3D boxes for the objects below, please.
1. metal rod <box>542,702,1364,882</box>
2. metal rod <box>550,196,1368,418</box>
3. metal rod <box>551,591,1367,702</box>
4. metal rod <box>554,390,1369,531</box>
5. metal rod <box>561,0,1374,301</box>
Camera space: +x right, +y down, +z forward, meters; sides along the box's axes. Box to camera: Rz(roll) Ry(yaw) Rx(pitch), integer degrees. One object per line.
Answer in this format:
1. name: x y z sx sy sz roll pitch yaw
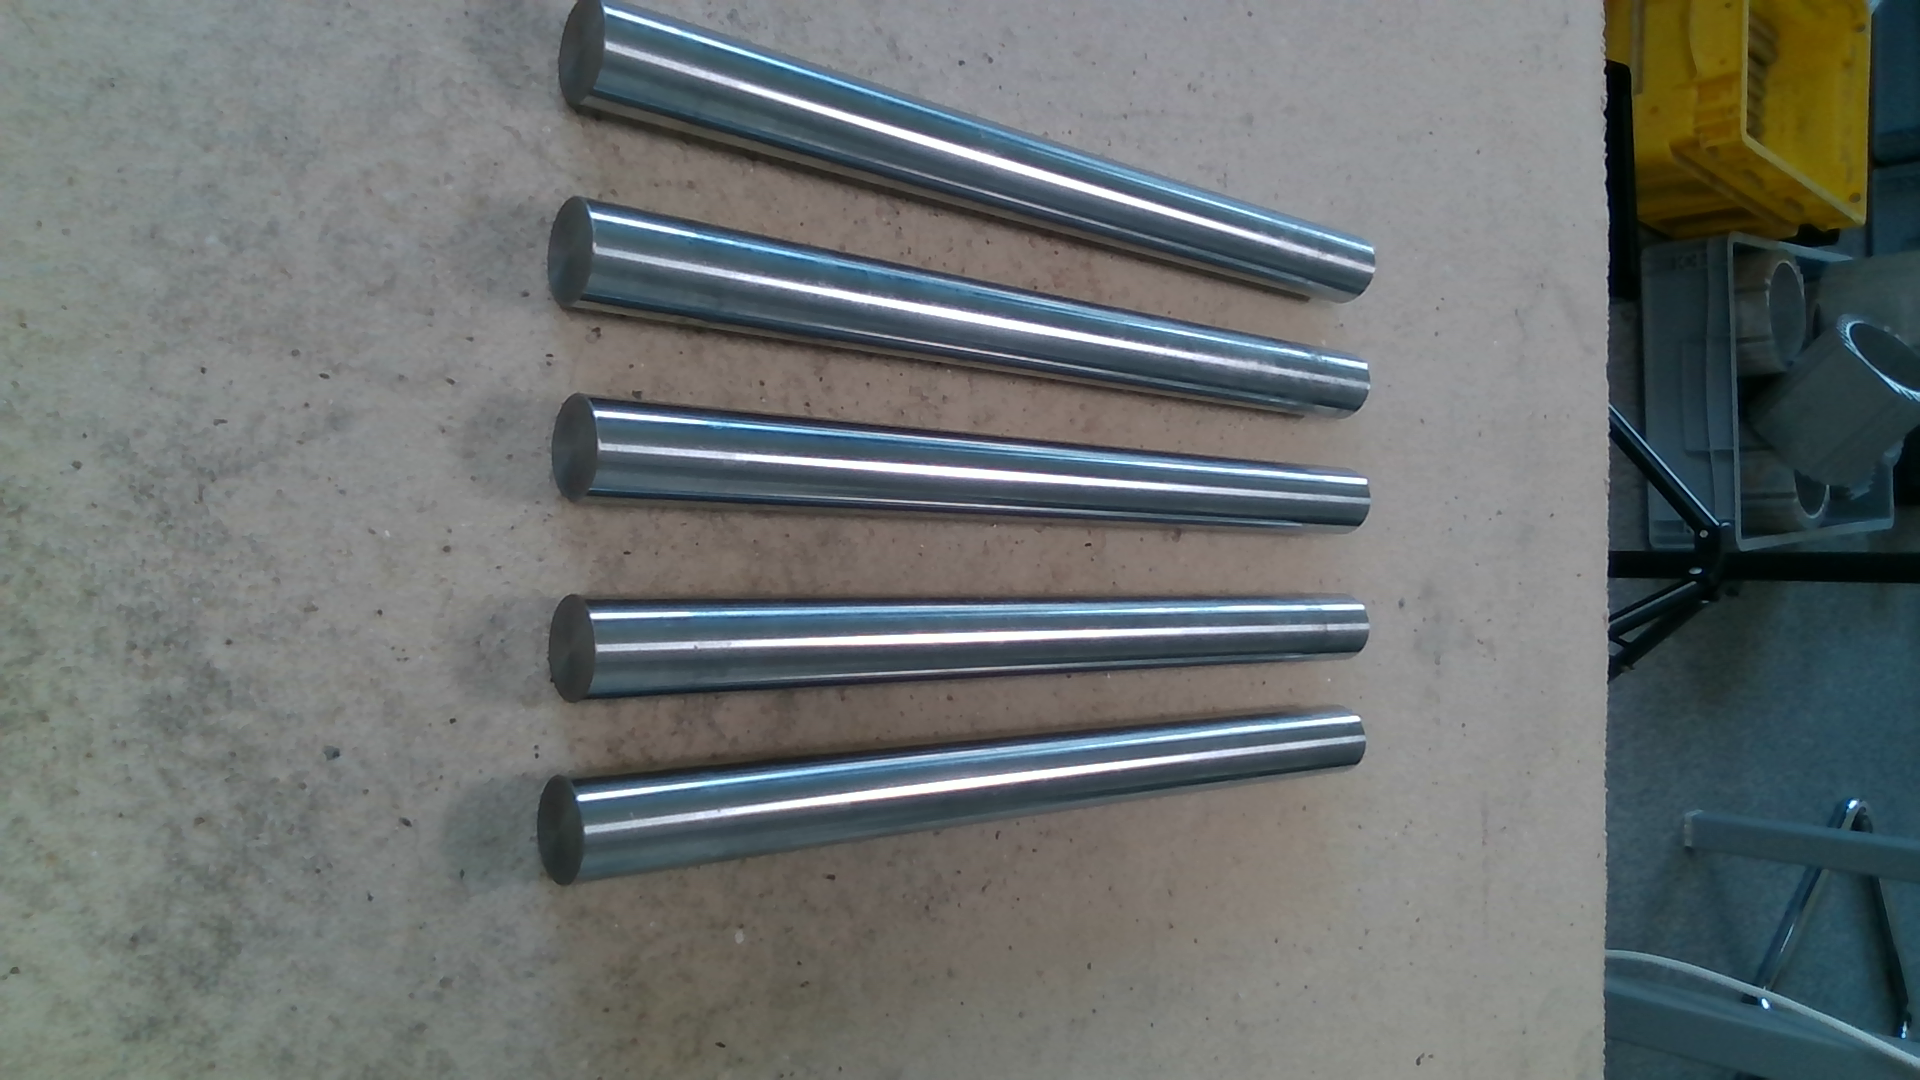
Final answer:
1. metal rod: 0.024 0.069 0.412 0.300 0.025 0.025 2 89 -40
2. metal rod: 0.026 -0.062 0.413 0.300 0.025 0.025 2 89 -40
3. metal rod: 0.026 0.028 0.413 0.300 0.025 0.025 2 89 -40
4. metal rod: 0.026 -0.019 0.413 0.300 0.025 0.025 2 89 -40
5. metal rod: 0.028 -0.106 0.413 0.300 0.025 0.025 3 88 -40
